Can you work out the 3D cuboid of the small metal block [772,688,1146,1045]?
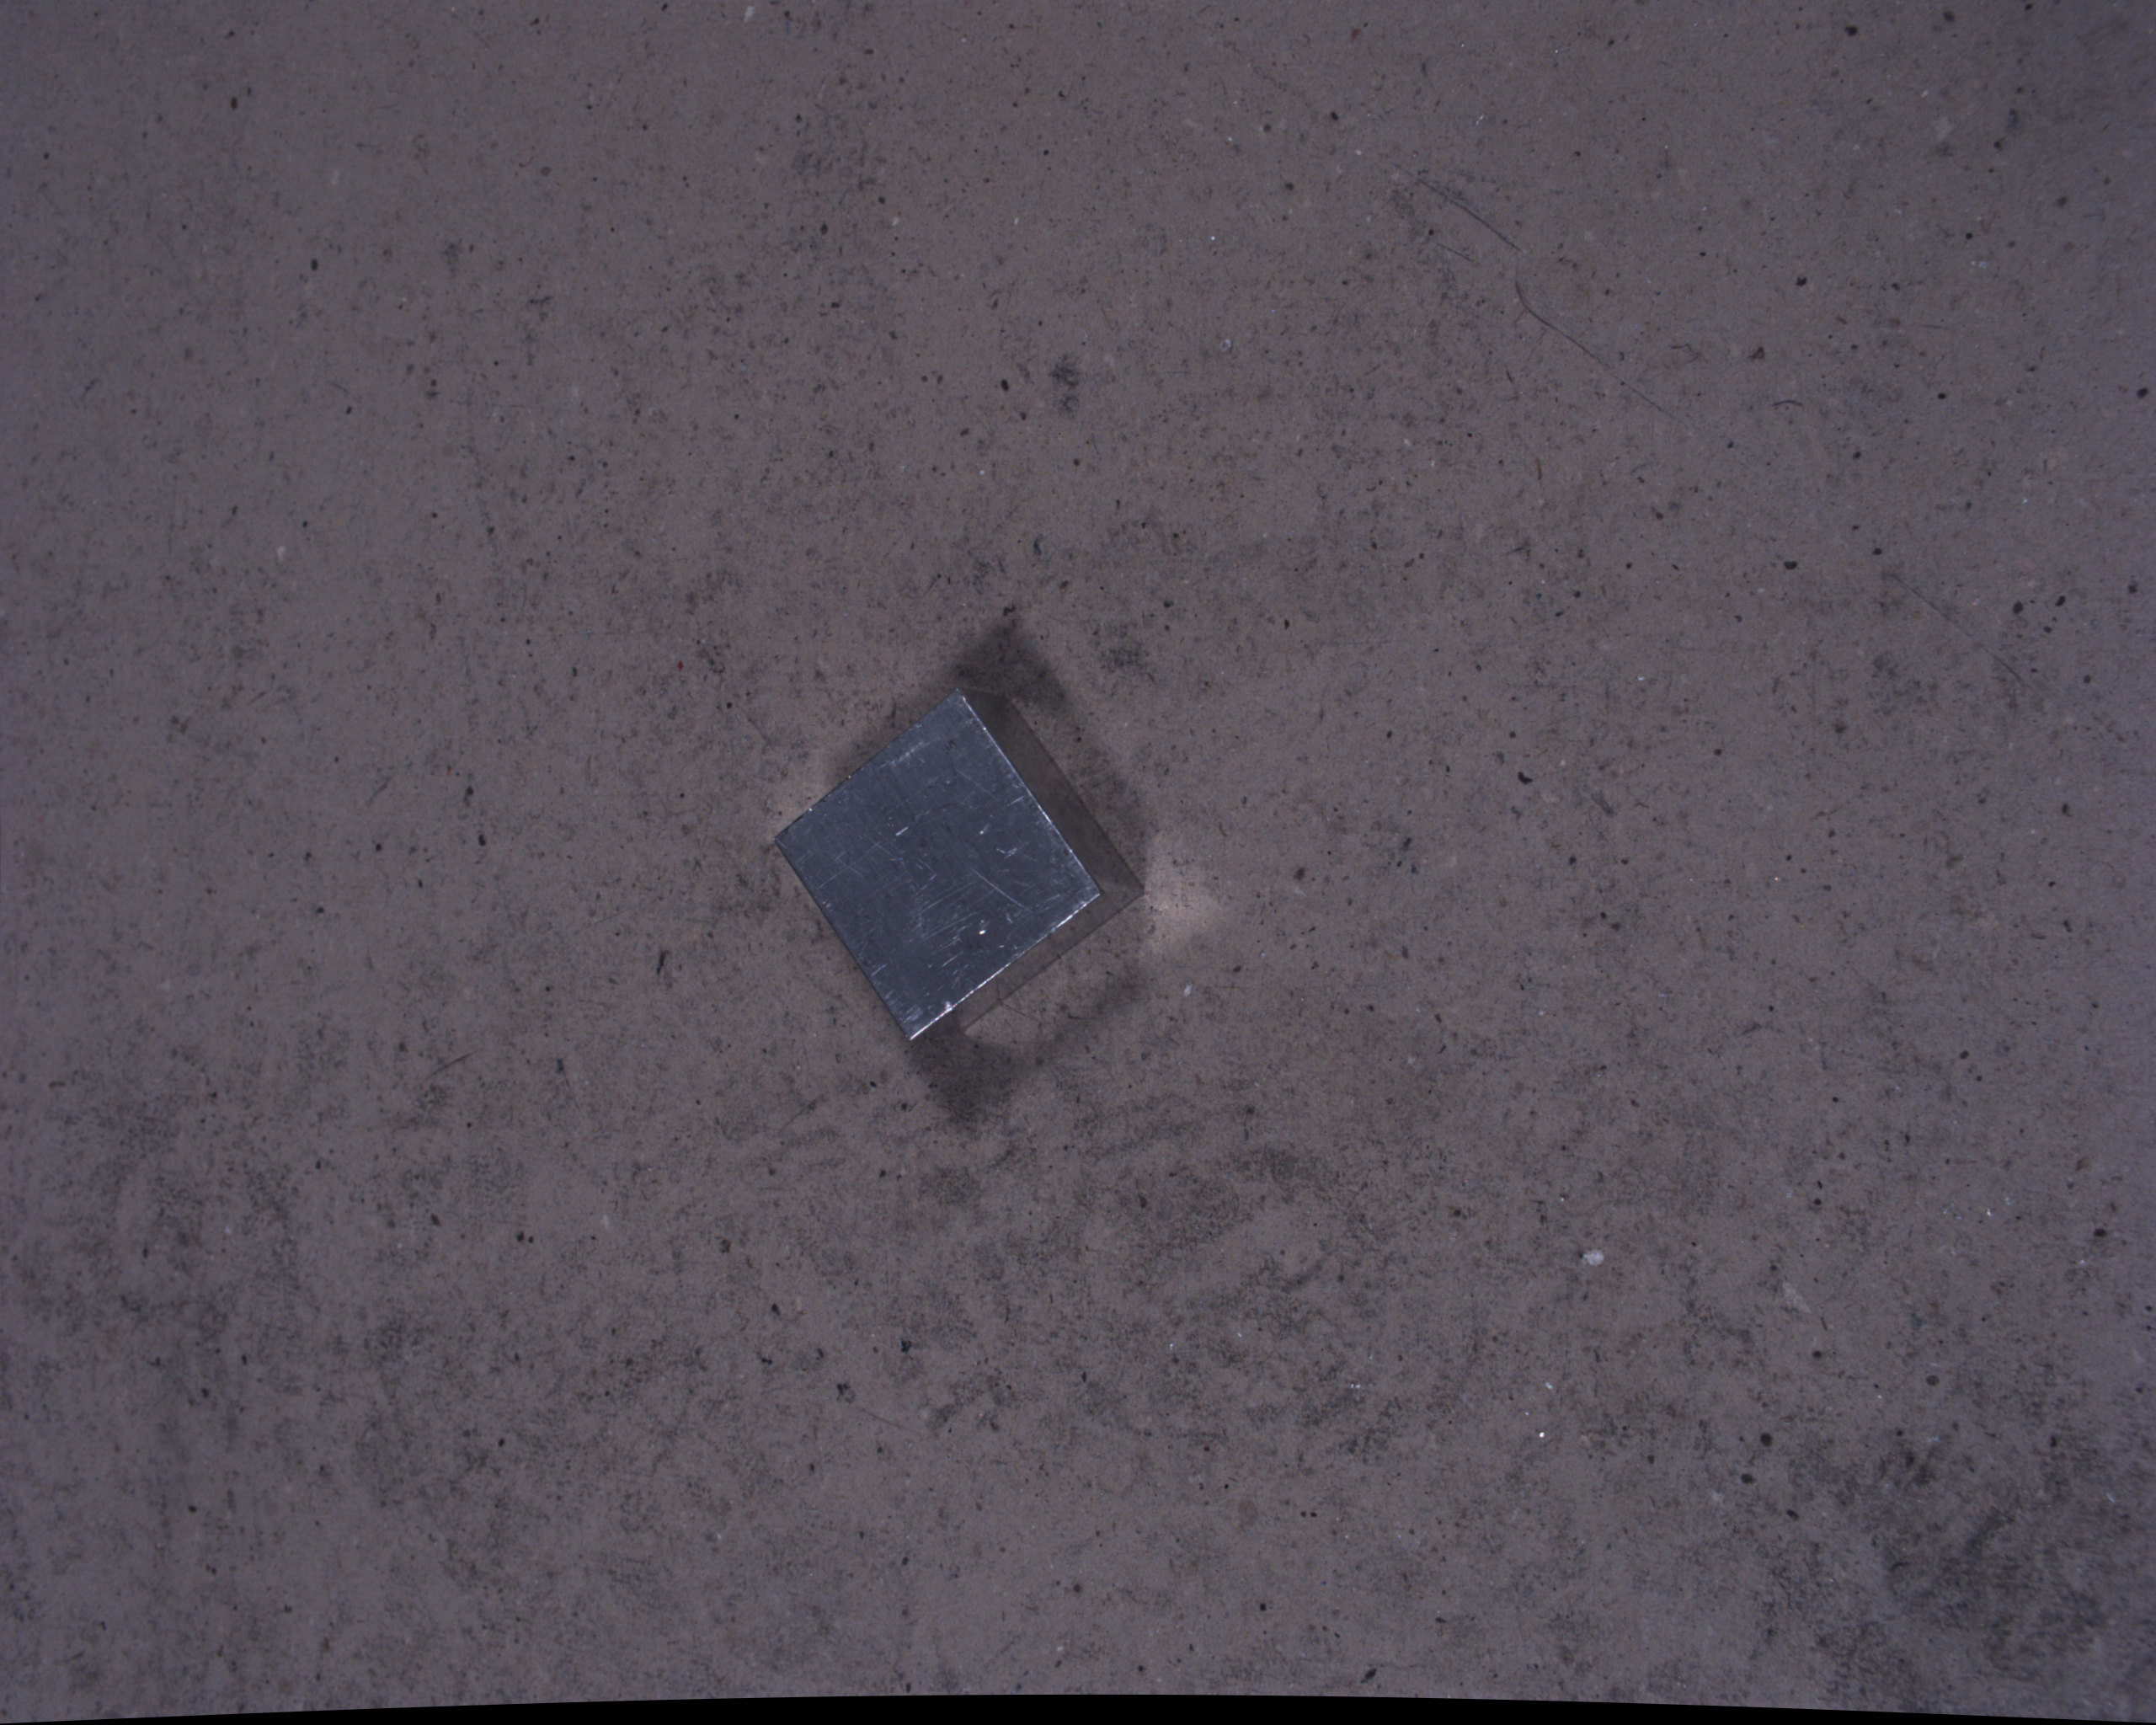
[{"bbox_3d":[-0.024,0.001,0.418,0.050,0.025,0.050,-38,78,15],"label":"small metal block"}]
